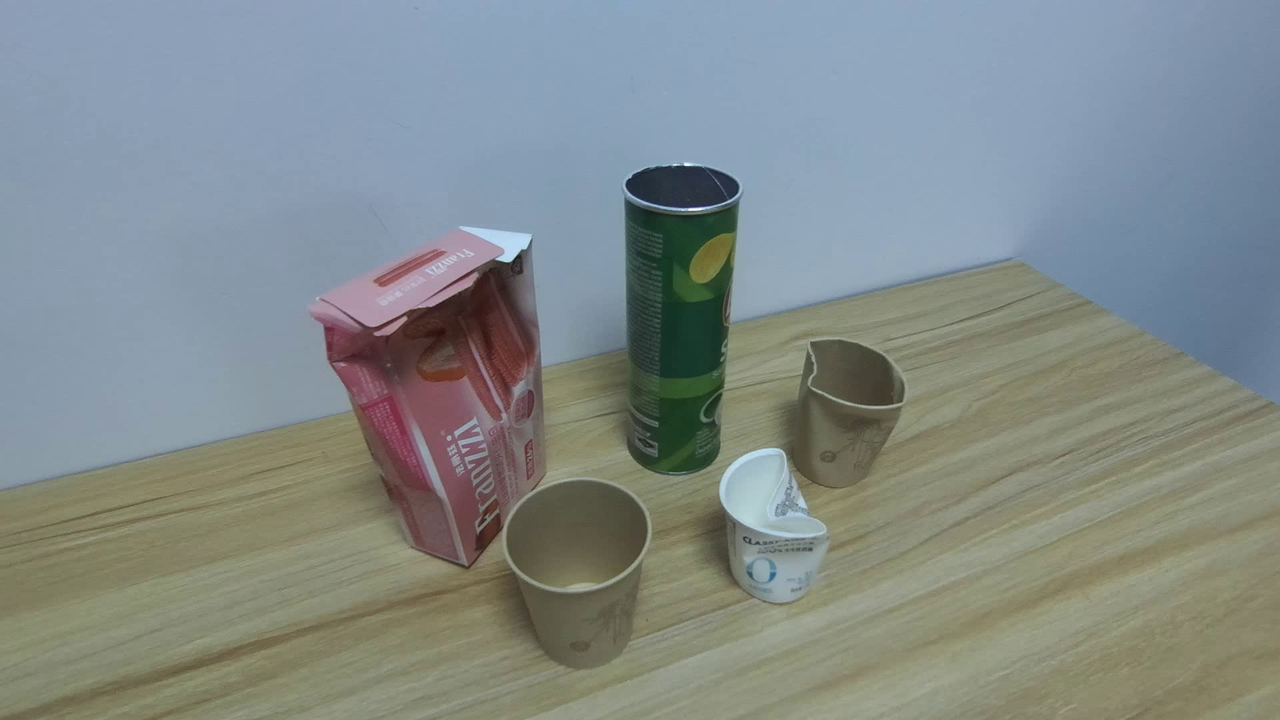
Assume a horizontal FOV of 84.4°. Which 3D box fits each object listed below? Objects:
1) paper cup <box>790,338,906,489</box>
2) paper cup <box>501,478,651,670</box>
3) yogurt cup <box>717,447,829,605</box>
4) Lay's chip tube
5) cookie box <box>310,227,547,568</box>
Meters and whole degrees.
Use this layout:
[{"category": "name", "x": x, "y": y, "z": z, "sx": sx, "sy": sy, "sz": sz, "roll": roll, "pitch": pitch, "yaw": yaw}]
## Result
[{"category": "paper cup", "x": 0.140, "y": 0.039, "z": 0.484, "sx": 0.066, "sy": 0.084, "sz": 0.071, "roll": 6, "pitch": 36, "yaw": 10}, {"category": "paper cup", "x": -0.031, "y": 0.119, "z": 0.379, "sx": 0.075, "sy": 0.082, "sz": 0.075, "roll": 0, "pitch": 36, "yaw": 0}, {"category": "yogurt cup", "x": 0.077, "y": 0.100, "z": 0.412, "sx": 0.067, "sy": 0.070, "sz": 0.067, "roll": 1, "pitch": 38, "yaw": 0}, {"category": "Lay's chip tube", "x": 0.025, "y": -0.021, "z": 0.462, "sx": 0.071, "sy": 0.203, "sz": 0.071, "roll": 0, "pitch": 37, "yaw": 0}, {"category": "cookie box", "x": -0.107, "y": 0.027, "z": 0.416, "sx": 0.055, "sy": 0.184, "sz": 0.119, "roll": 19, "pitch": 41, "yaw": 25}]
